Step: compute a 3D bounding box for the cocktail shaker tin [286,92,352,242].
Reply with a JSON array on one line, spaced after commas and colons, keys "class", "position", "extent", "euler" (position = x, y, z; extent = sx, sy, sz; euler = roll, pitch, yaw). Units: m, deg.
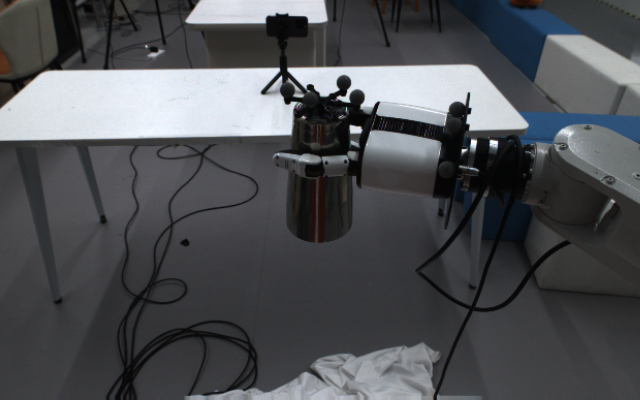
[{"class": "cocktail shaker tin", "position": [0.004, -0.043, 0.615], "extent": [0.093, 0.170, 0.093], "euler": [1, 39, -1]}]
